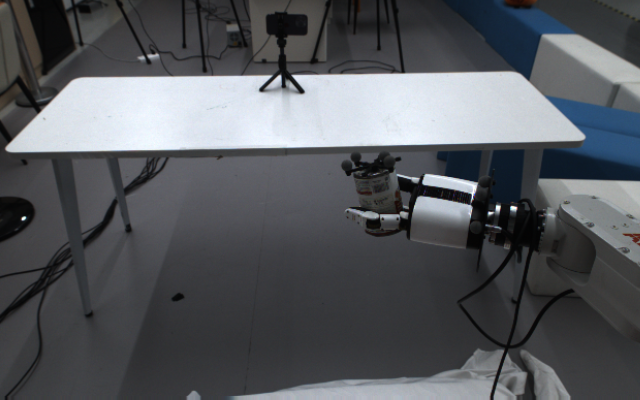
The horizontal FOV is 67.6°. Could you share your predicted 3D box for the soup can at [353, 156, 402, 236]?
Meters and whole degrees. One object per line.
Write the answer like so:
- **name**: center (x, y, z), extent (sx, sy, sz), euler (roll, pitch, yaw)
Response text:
- **soup can**: center (0.096, -0.003, 0.760), extent (0.067, 0.101, 0.067), euler (-13, 20, 5)
